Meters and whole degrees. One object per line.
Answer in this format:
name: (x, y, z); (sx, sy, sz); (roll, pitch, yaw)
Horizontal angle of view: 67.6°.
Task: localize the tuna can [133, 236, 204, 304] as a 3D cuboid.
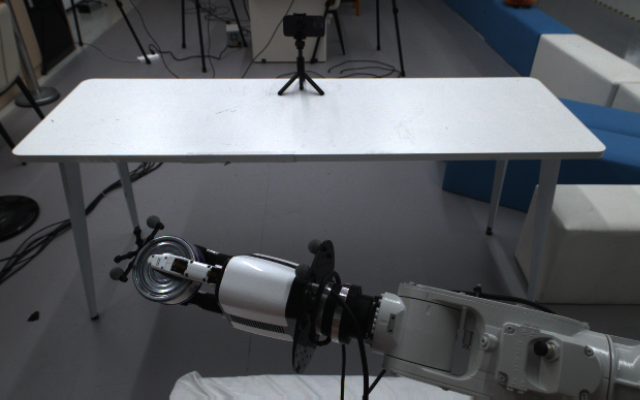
tuna can: (-0.189, 0.093, 0.614); (0.085, 0.034, 0.085); (-2, 73, 6)
